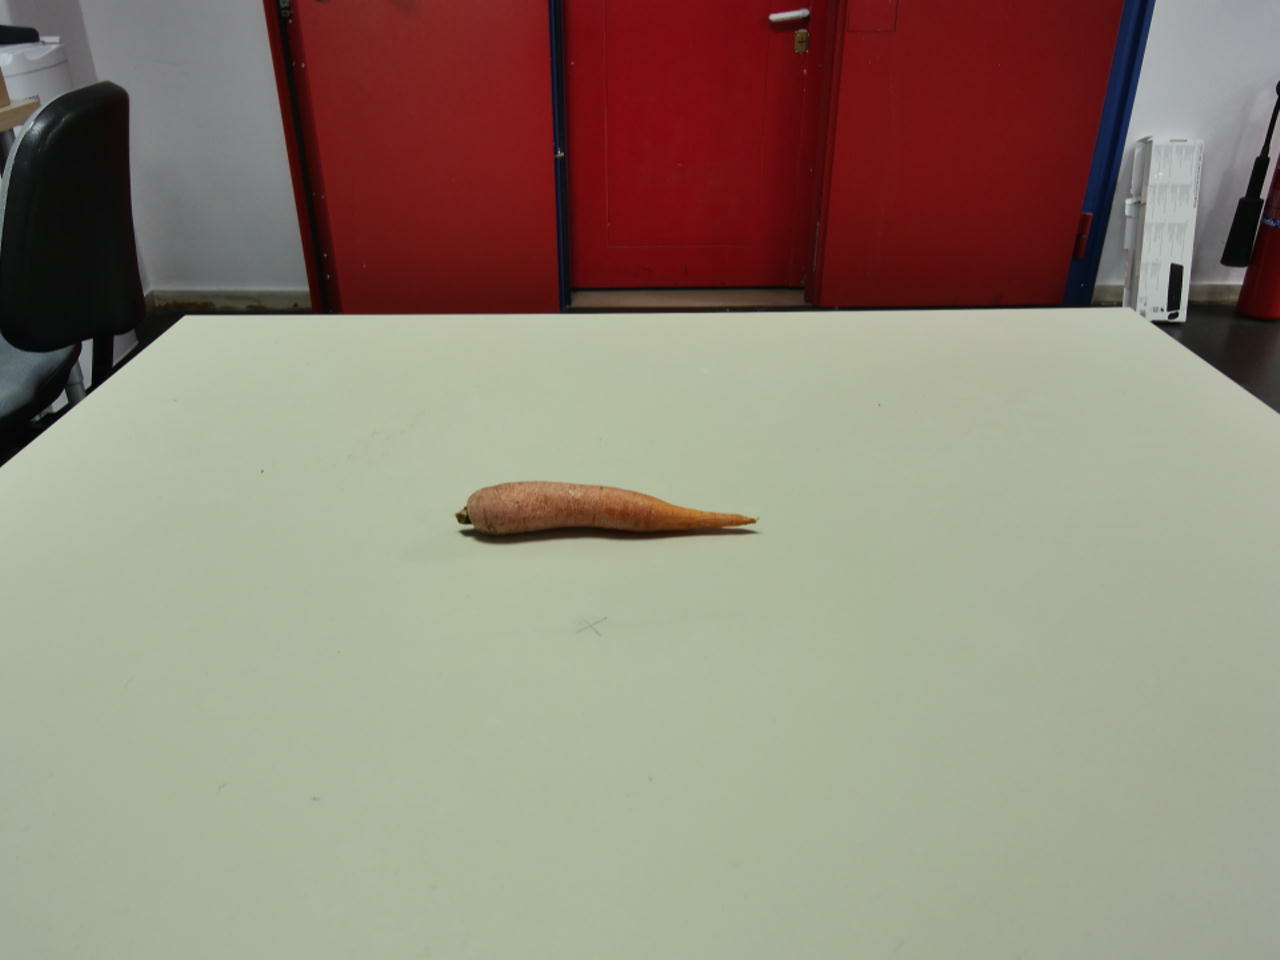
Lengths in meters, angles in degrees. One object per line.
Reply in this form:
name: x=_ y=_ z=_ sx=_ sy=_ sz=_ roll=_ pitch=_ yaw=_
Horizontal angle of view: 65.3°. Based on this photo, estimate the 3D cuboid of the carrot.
carrot: x=-0.018 y=0.015 z=0.546 sx=0.163 sy=0.029 sz=0.031 roll=0 pitch=26 yaw=0
